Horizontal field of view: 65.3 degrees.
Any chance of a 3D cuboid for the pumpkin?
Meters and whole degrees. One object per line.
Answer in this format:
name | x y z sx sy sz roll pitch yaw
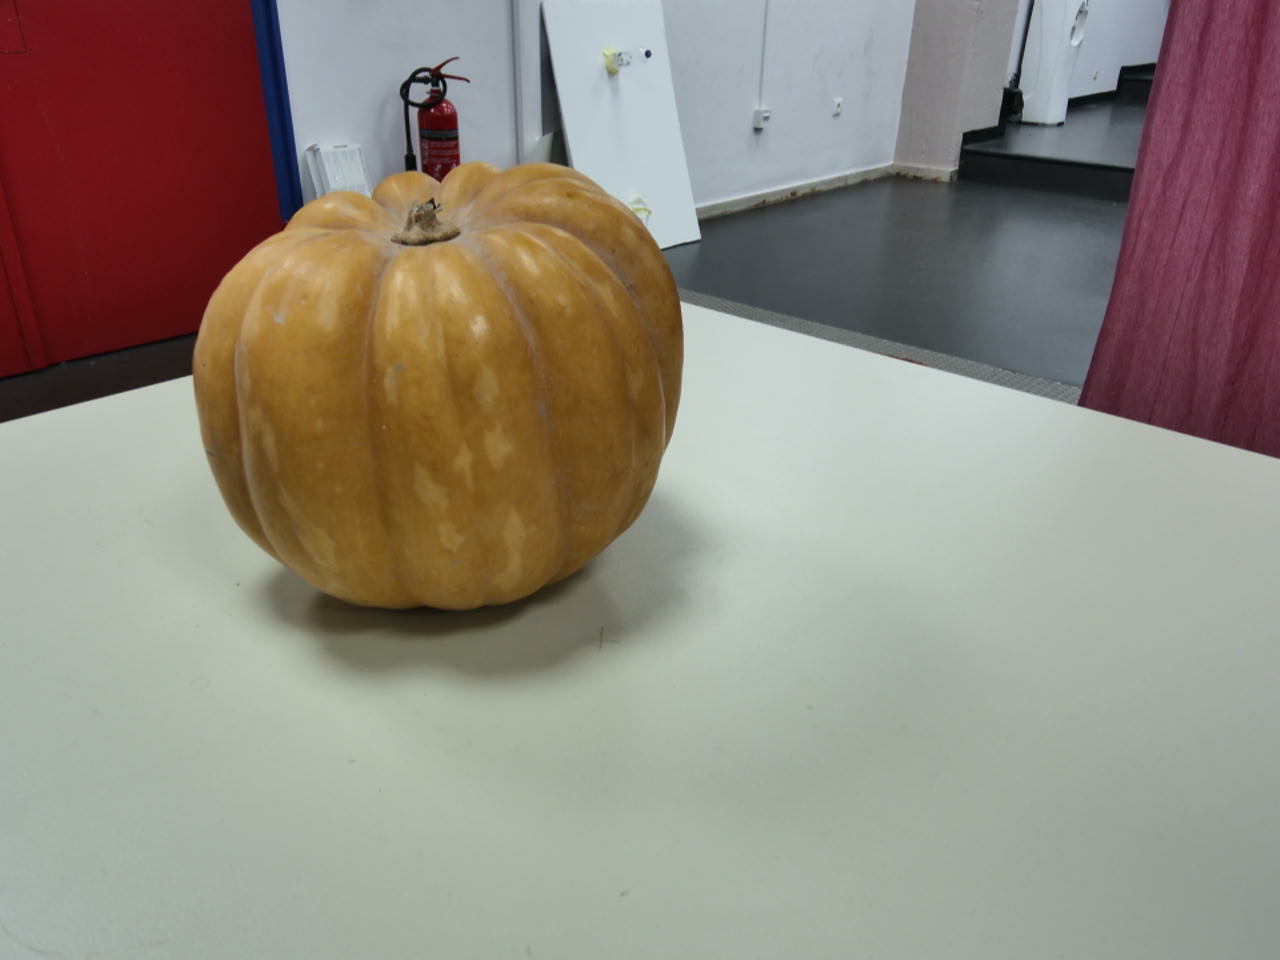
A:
pumpkin | -0.089 -0.045 0.474 0.230 0.194 0.230 0 25 0
